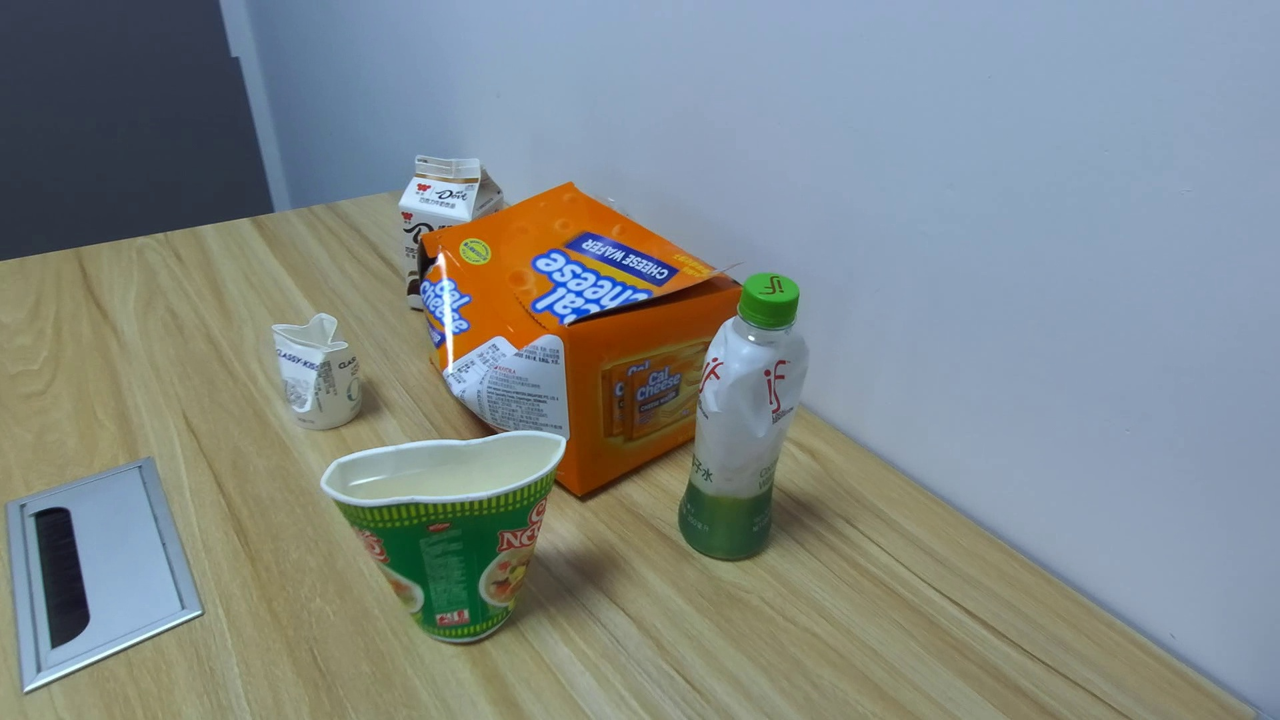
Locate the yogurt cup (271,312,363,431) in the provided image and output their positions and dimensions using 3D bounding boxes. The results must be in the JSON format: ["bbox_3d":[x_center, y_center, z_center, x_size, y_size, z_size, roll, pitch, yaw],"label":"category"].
[{"bbox_3d":[-0.244,0.009,0.542,0.055,0.072,0.054,-16,40,-30],"label":"yogurt cup"}]

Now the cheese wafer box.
[{"bbox_3d":[-0.063,-0.027,0.550,0.192,0.145,0.218,-24,43,-34],"label":"cheese wafer box"}]

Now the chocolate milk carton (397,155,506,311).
[{"bbox_3d":[-0.176,-0.123,0.674,0.075,0.148,0.074,13,36,10],"label":"chocolate milk carton"}]

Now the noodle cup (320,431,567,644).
[{"bbox_3d":[-0.103,0.097,0.396,0.115,0.111,0.070,6,35,2],"label":"noodle cup"}]

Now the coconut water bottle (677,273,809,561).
[{"bbox_3d":[0.064,0.037,0.429,0.067,0.187,0.067,3,35,-2],"label":"coconut water bottle"}]
